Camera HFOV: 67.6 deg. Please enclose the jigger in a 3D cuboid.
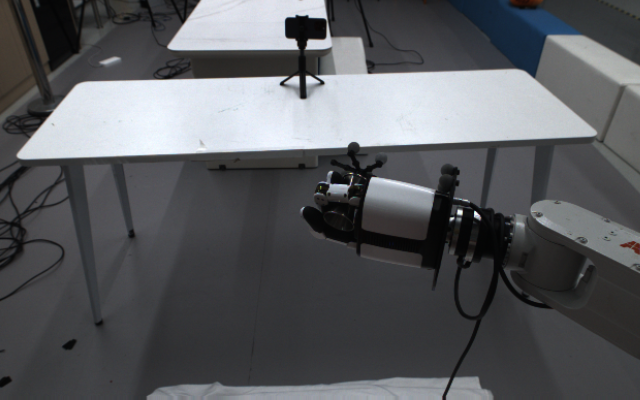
[{"bbox_3d":[0.038,0.000,0.647,0.043,0.043,0.071,15,58,18],"label":"jigger"}]
